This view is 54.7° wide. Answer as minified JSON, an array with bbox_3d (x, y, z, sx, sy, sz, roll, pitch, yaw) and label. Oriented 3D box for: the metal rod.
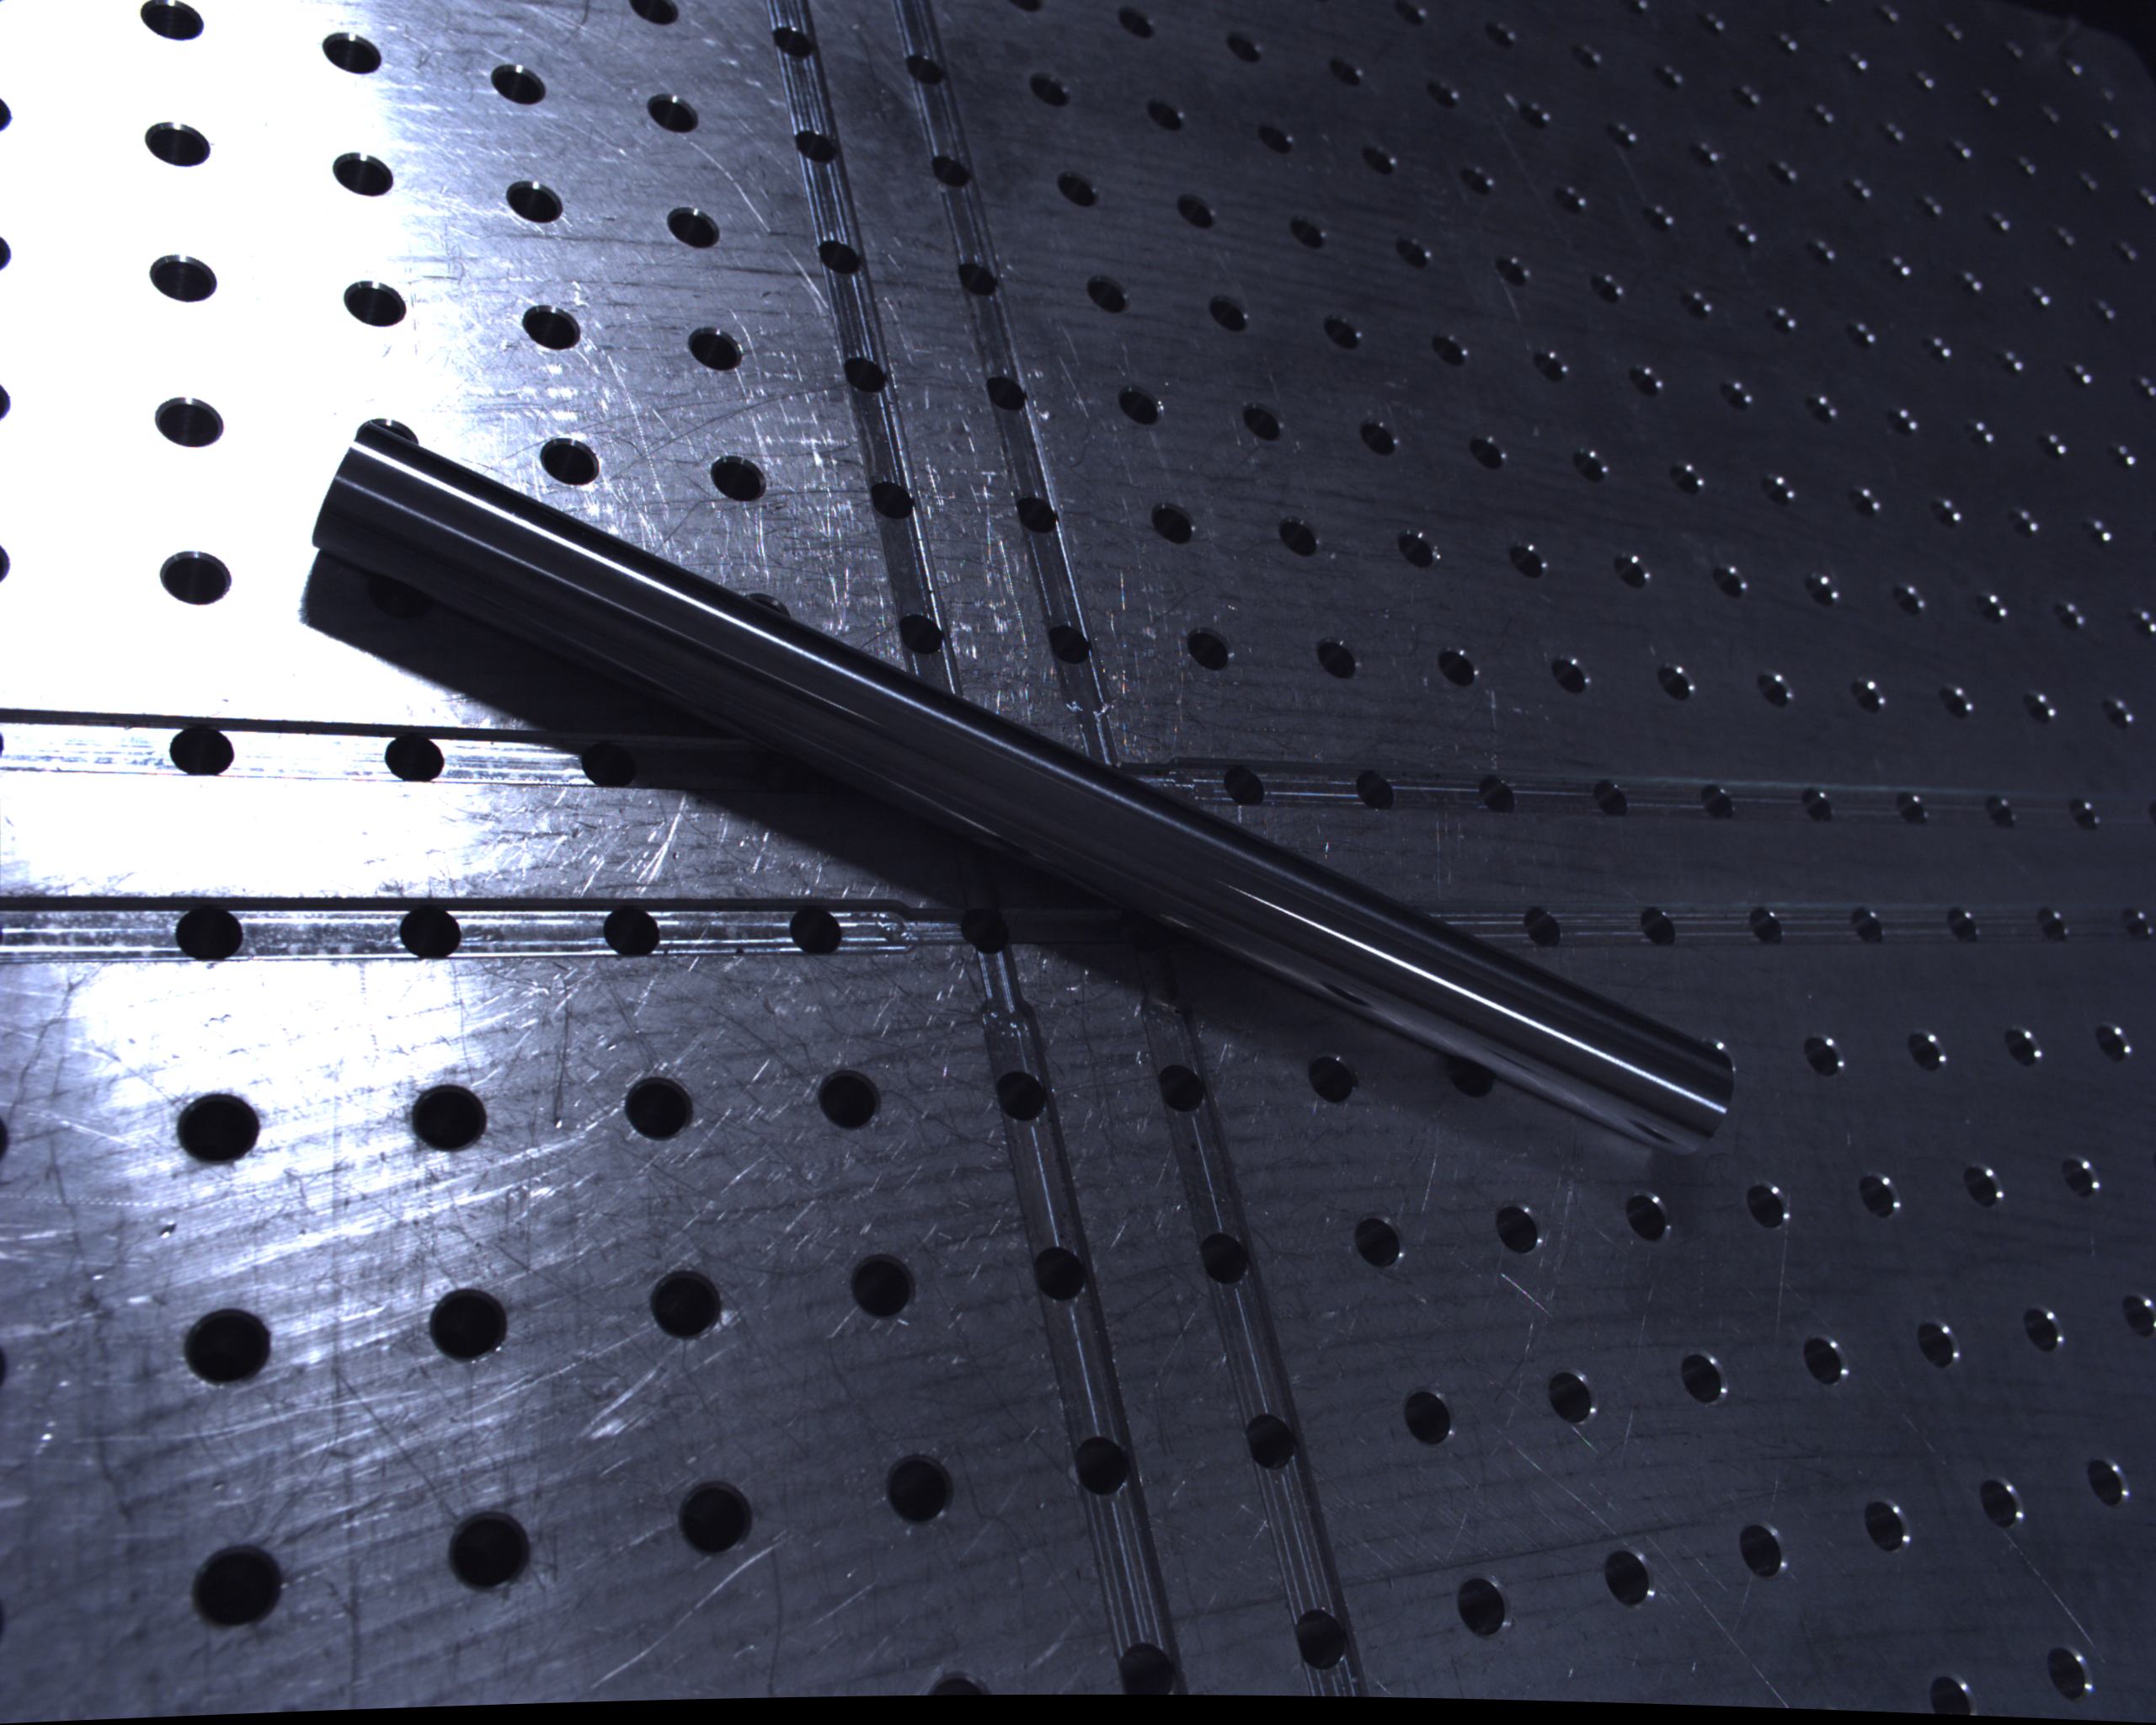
[{"bbox_3d":[0.000,-0.008,0.415,0.302,0.025,0.025,24,53,-14],"label":"metal rod"}]
